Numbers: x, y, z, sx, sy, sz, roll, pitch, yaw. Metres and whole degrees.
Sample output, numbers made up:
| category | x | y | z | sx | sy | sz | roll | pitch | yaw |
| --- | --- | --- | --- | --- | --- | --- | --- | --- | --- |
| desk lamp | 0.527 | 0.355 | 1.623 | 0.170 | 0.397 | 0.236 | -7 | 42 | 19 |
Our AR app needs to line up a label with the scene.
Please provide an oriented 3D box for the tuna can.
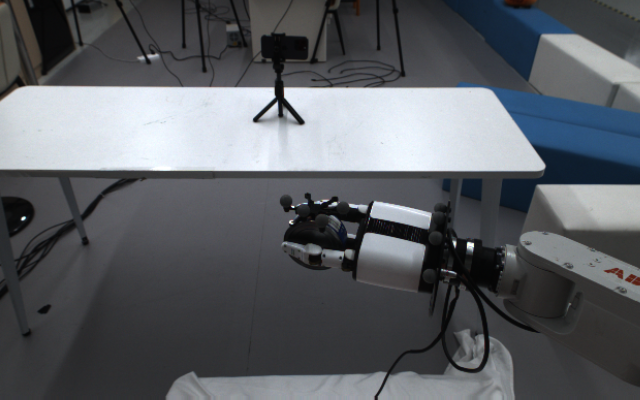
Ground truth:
| category | x | y | z | sx | sy | sz | roll | pitch | yaw |
| --- | --- | --- | --- | --- | --- | --- | --- | --- | --- |
| tuna can | -0.004 | 0.054 | 0.679 | 0.085 | 0.085 | 0.034 | 10 | 34 | 12 |
